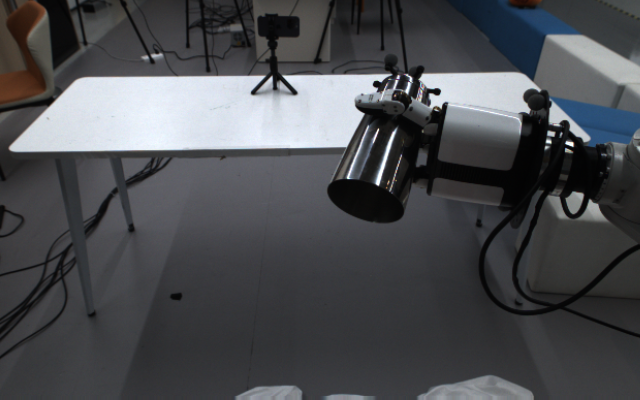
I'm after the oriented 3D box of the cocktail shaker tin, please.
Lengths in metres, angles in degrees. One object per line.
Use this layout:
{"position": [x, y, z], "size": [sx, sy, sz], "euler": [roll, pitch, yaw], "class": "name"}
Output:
{"position": [0.081, -0.068, 0.583], "size": [0.093, 0.093, 0.170], "euler": [14, 63, 17], "class": "cocktail shaker tin"}
